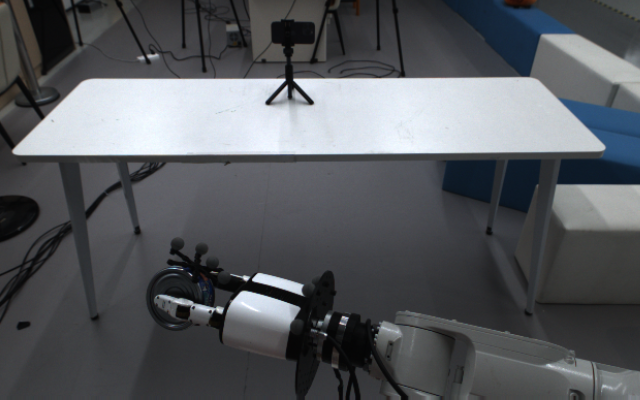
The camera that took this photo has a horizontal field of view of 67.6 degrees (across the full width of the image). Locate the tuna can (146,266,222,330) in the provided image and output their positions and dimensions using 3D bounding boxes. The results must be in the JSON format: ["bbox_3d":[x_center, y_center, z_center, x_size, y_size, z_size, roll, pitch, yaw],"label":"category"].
[{"bbox_3d":[-0.184,0.130,0.644,0.085,0.085,0.034,12,4,14],"label":"tuna can"}]
